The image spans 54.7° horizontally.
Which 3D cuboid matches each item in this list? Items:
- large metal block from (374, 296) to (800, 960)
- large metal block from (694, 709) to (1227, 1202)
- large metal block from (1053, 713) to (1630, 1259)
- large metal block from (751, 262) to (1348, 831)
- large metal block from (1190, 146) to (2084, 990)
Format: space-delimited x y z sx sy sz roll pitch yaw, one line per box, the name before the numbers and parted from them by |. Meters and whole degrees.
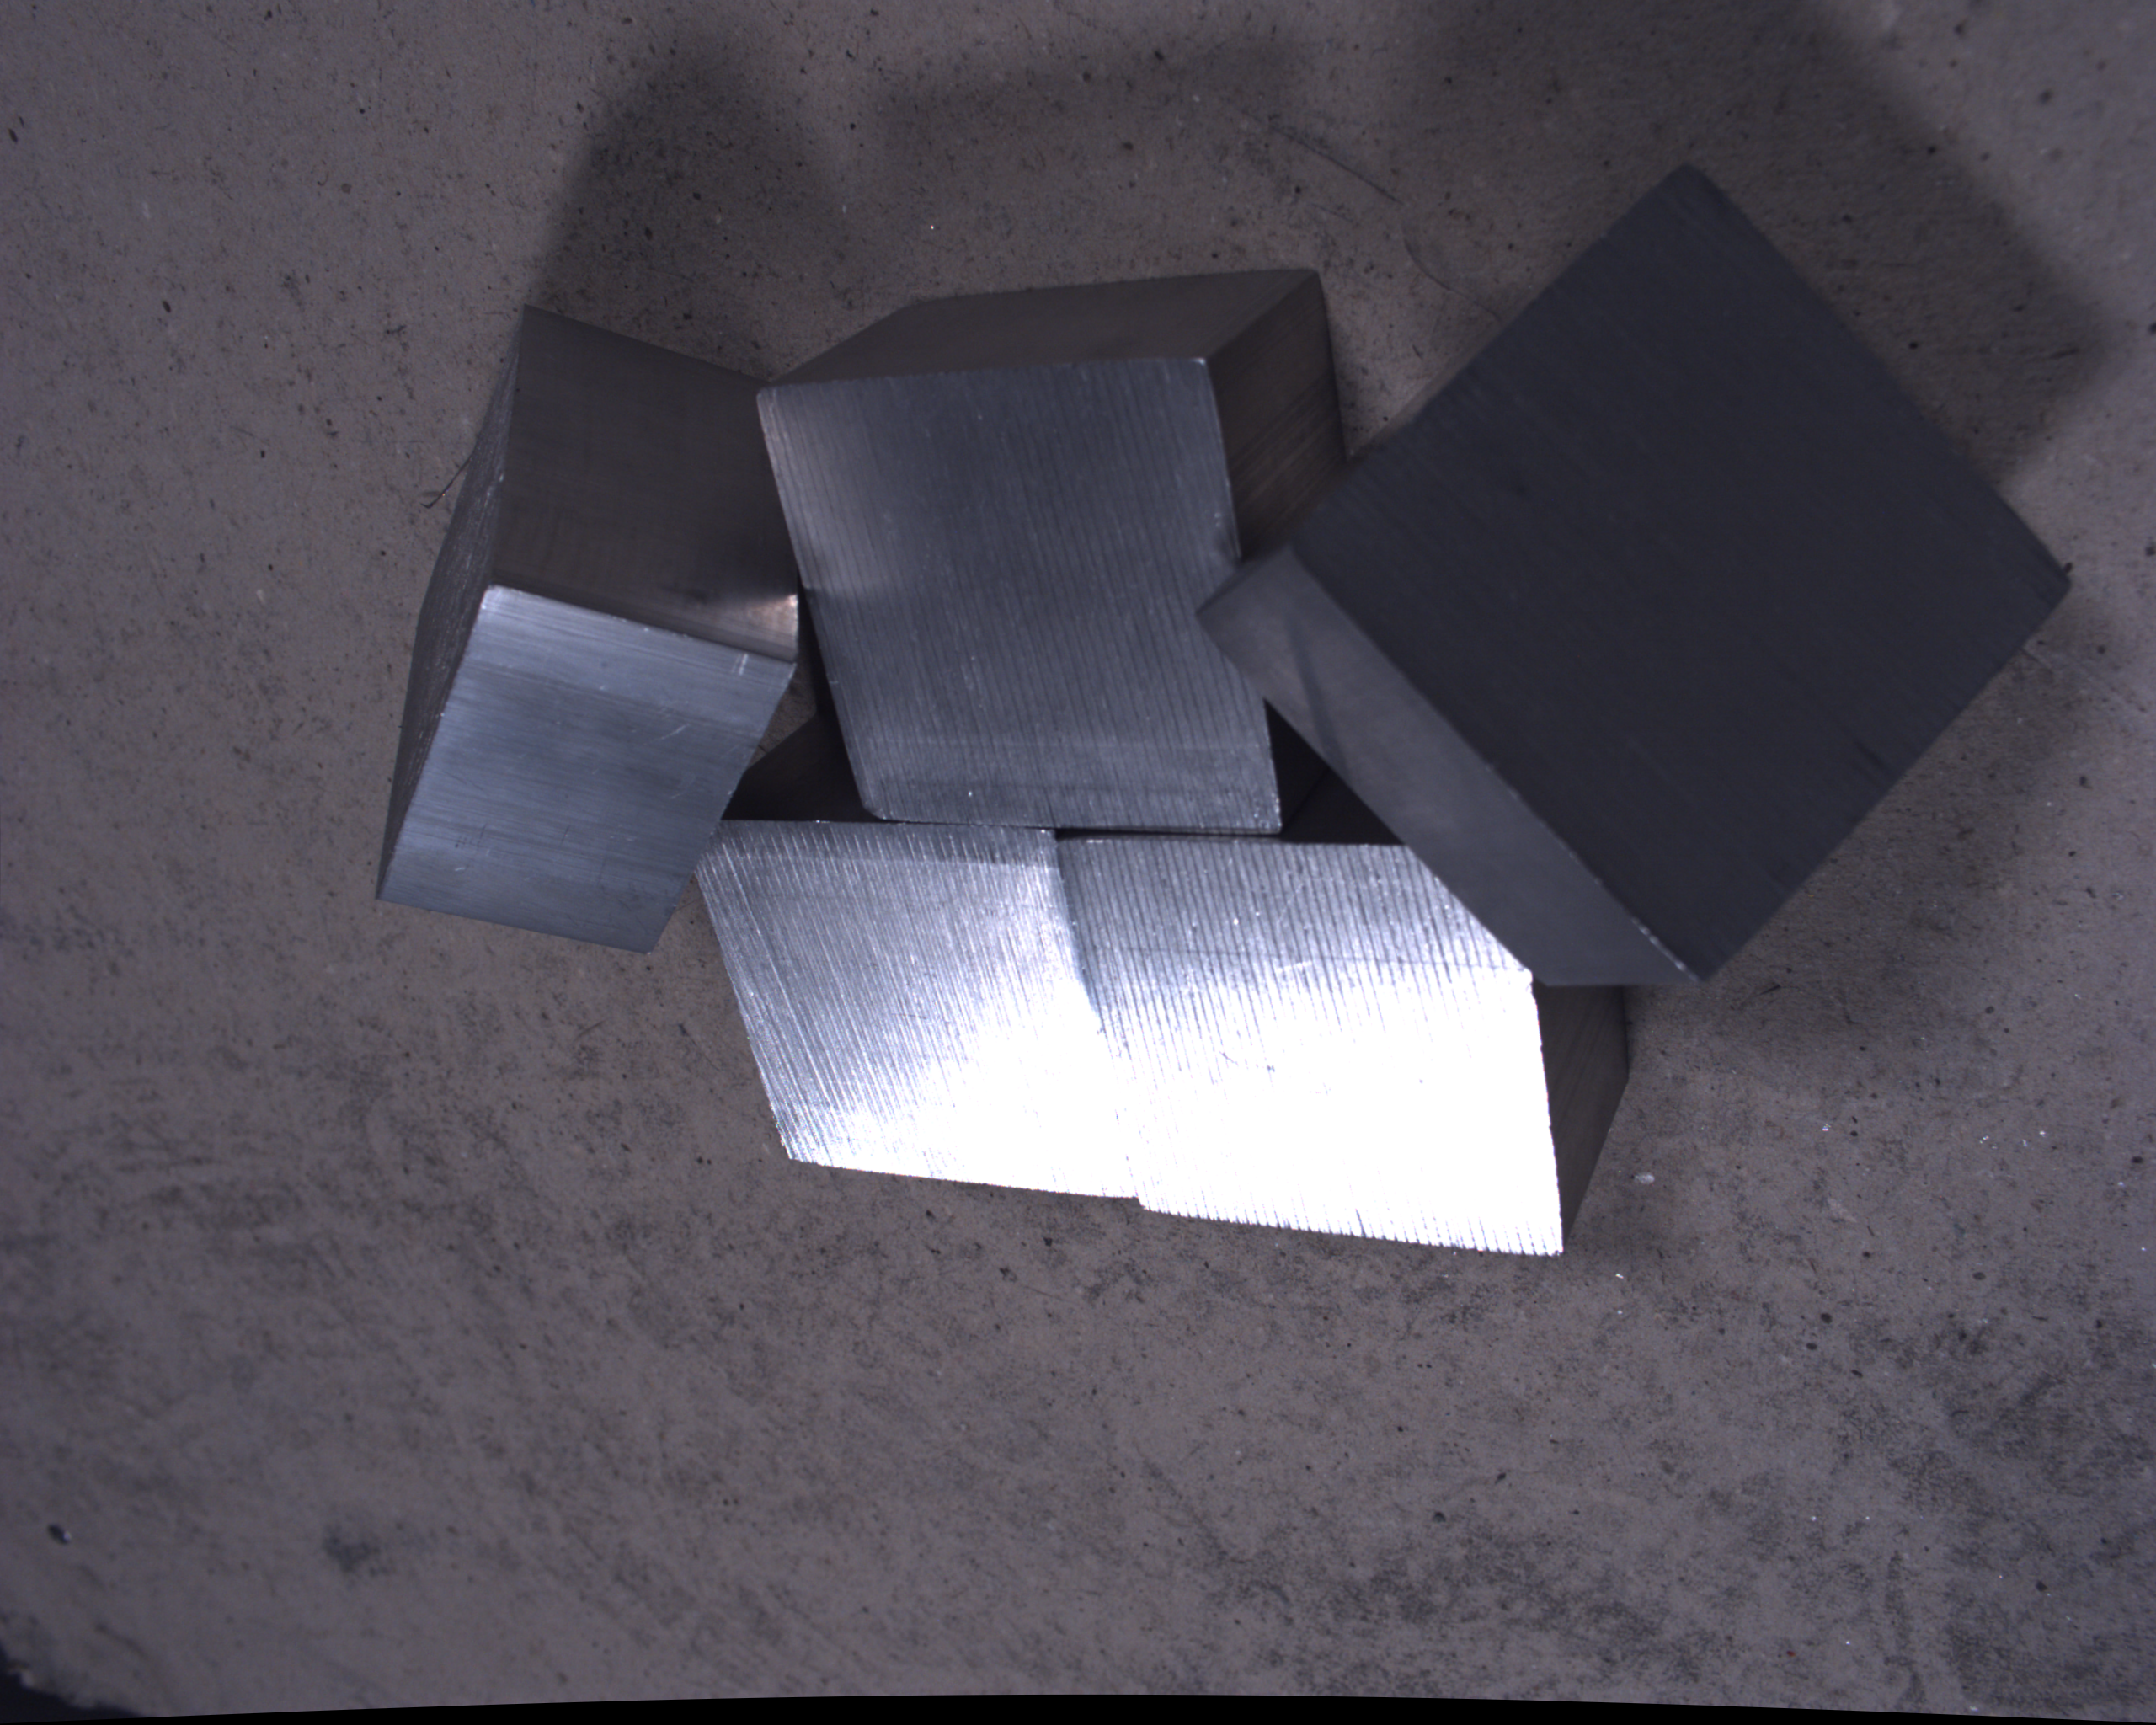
large metal block | -0.090 -0.042 0.384 0.050 0.080 0.079 14 133 -23
large metal block | -0.022 0.016 0.411 0.080 0.050 0.079 1 119 27
large metal block | 0.050 0.020 0.375 0.080 0.050 0.079 1 119 27
large metal block | 0.001 -0.054 0.358 0.080 0.050 0.079 3 120 26
large metal block | 0.077 -0.038 0.300 0.080 0.080 0.050 46 169 -4
